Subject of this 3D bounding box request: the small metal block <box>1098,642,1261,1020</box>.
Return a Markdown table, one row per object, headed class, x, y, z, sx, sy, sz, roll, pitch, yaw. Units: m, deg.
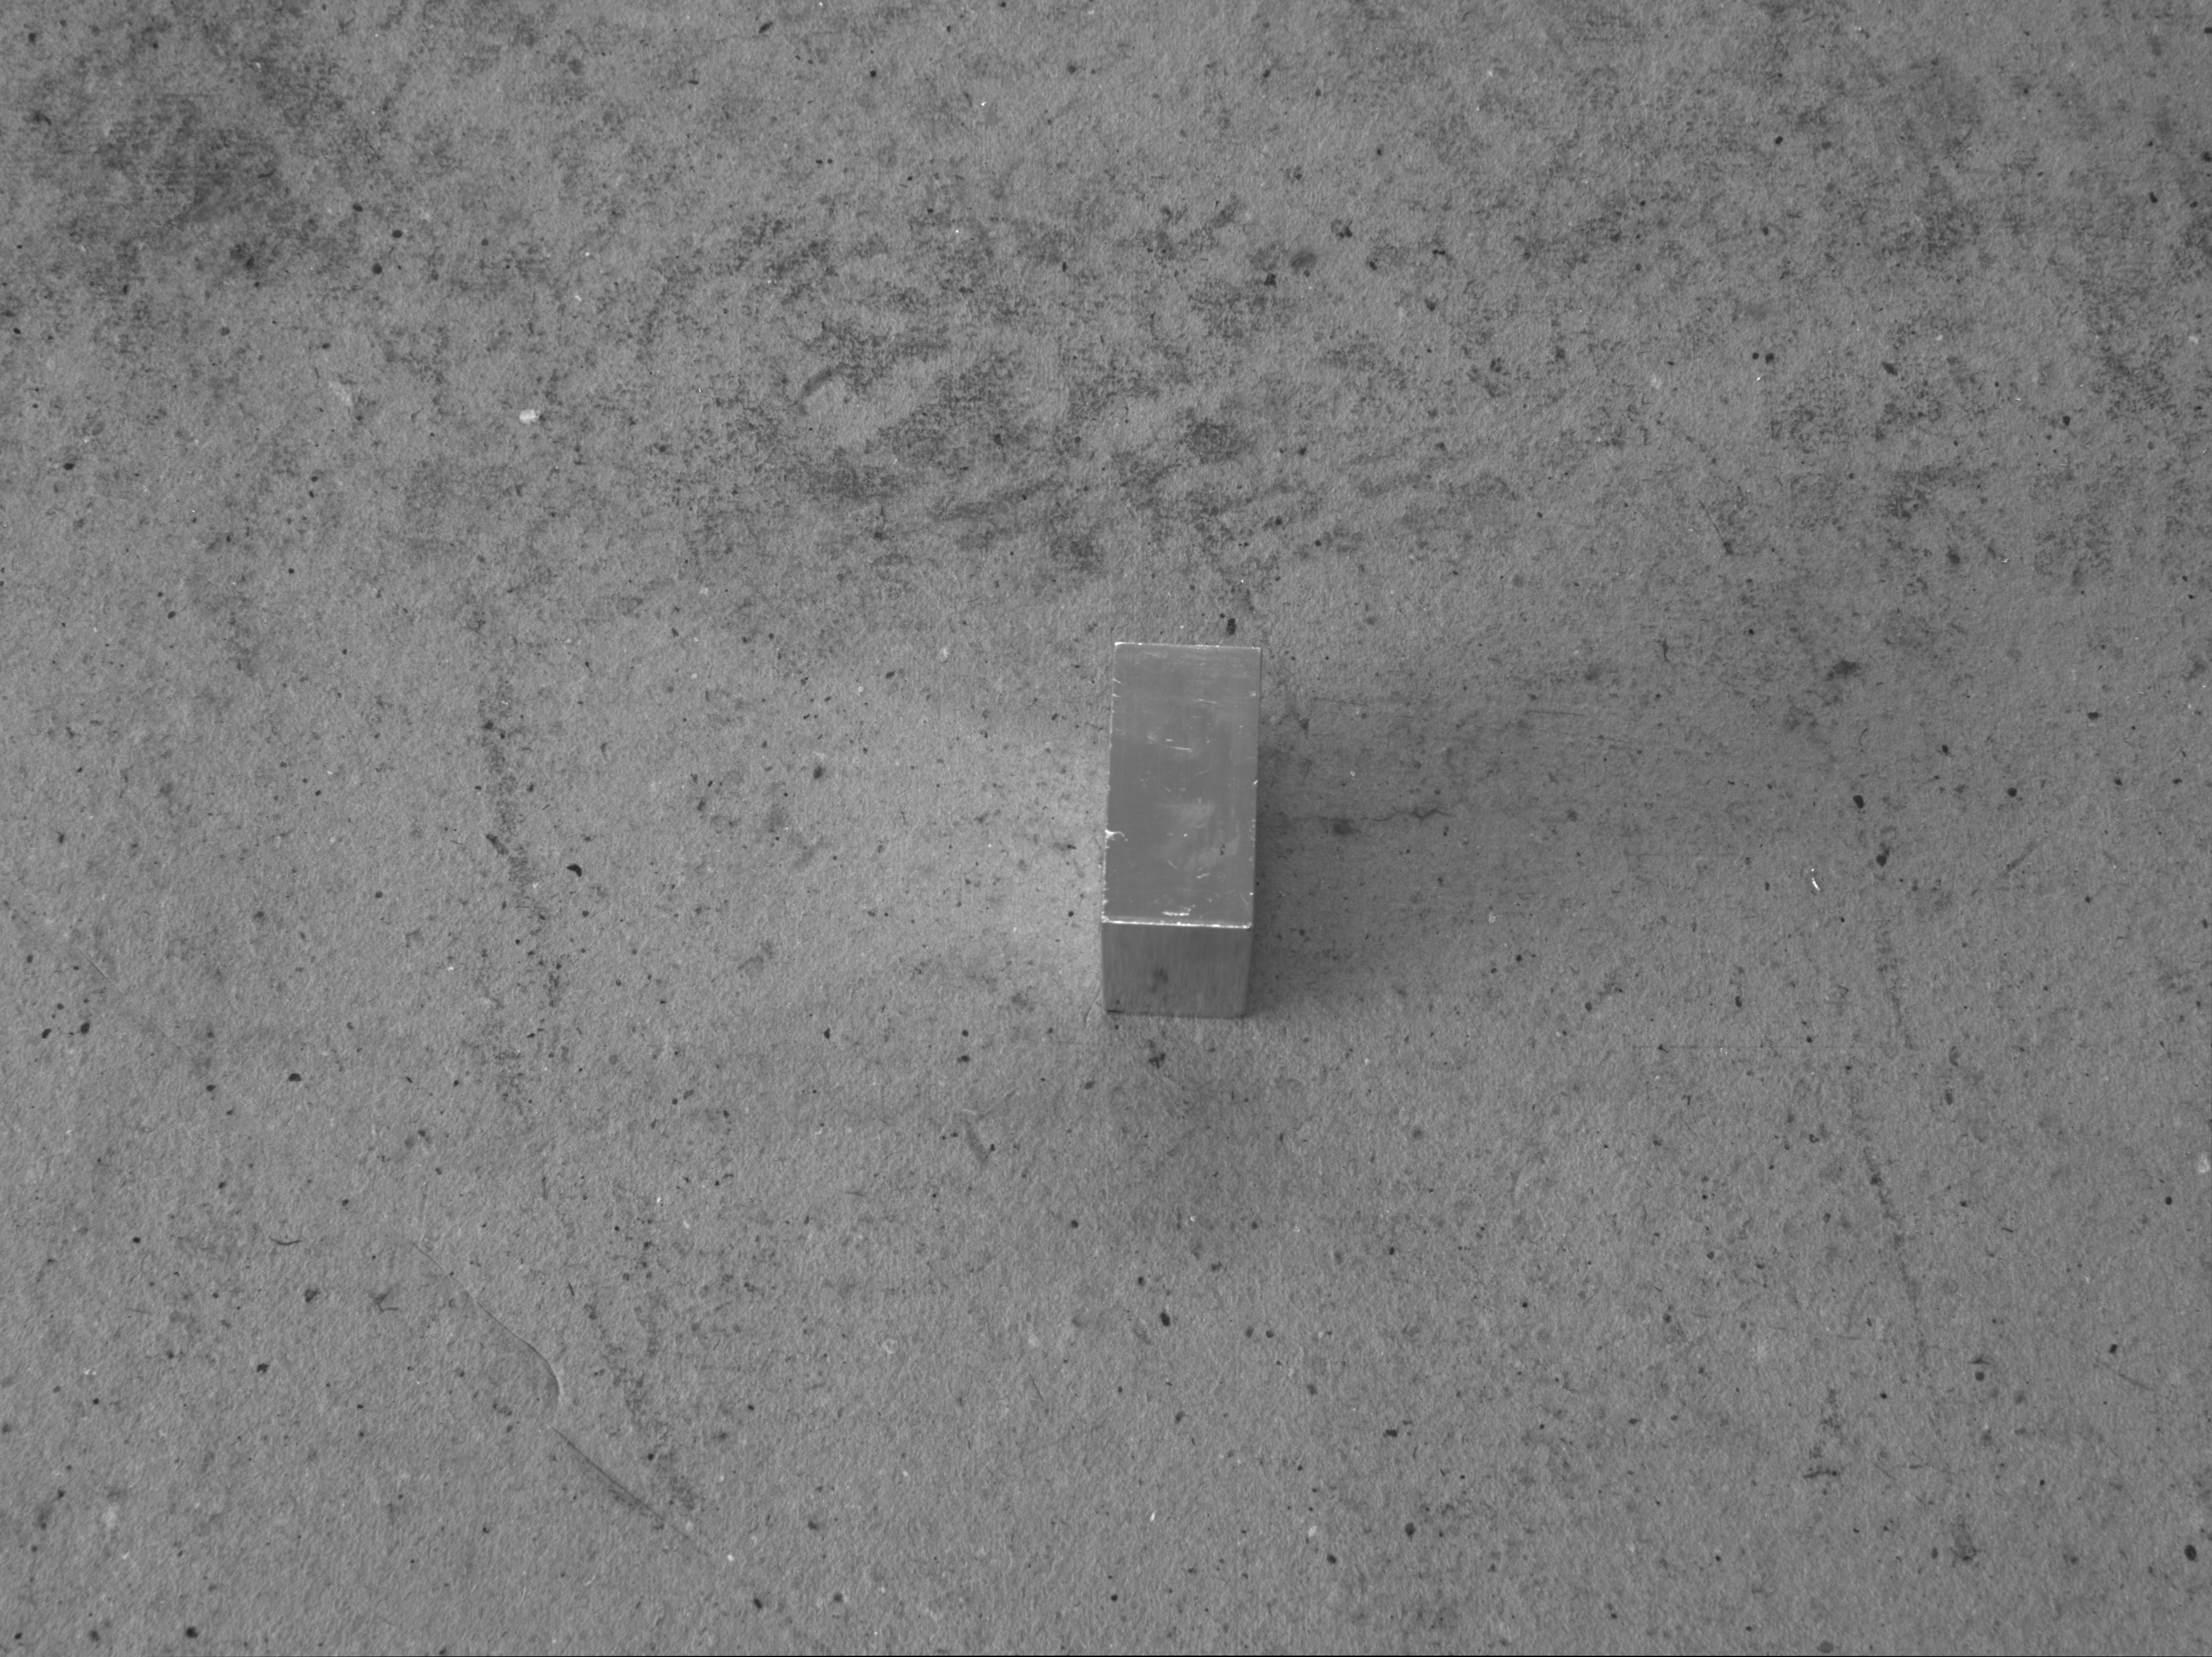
| class | x | y | z | sx | sy | sz | roll | pitch | yaw |
| --- | --- | --- | --- | --- | --- | --- | --- | --- | --- |
| small metal block | 0.012 | 0.001 | 0.632 | 0.025 | 0.050 | 0.050 | 2 | 70 | 0 |
